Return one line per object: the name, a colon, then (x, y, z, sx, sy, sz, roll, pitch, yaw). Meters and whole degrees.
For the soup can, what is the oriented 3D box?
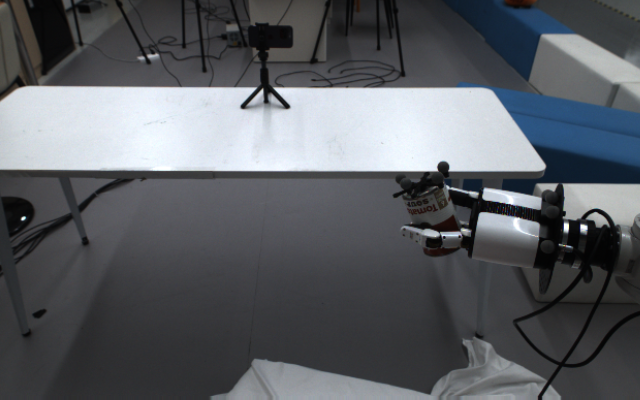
soup can: (0.173, 0.024, 0.731, 0.067, 0.101, 0.067, -23, 16, 7)
